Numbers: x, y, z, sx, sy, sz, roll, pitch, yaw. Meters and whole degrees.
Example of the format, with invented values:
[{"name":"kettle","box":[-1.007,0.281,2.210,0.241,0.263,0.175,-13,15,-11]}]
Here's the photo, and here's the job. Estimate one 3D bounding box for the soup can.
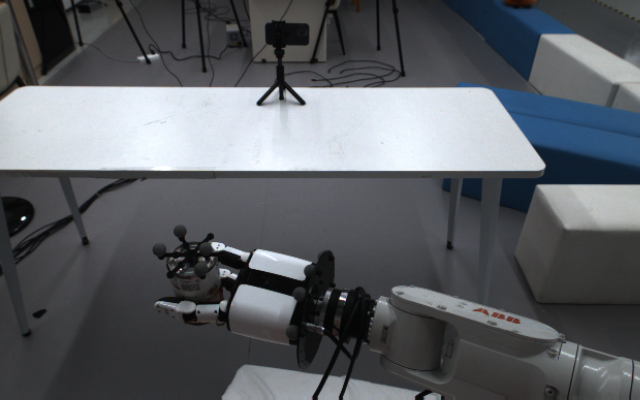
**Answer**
[{"name":"soup can","box":[-0.169,0.118,0.672,0.067,0.101,0.067,1,39,-1]}]
